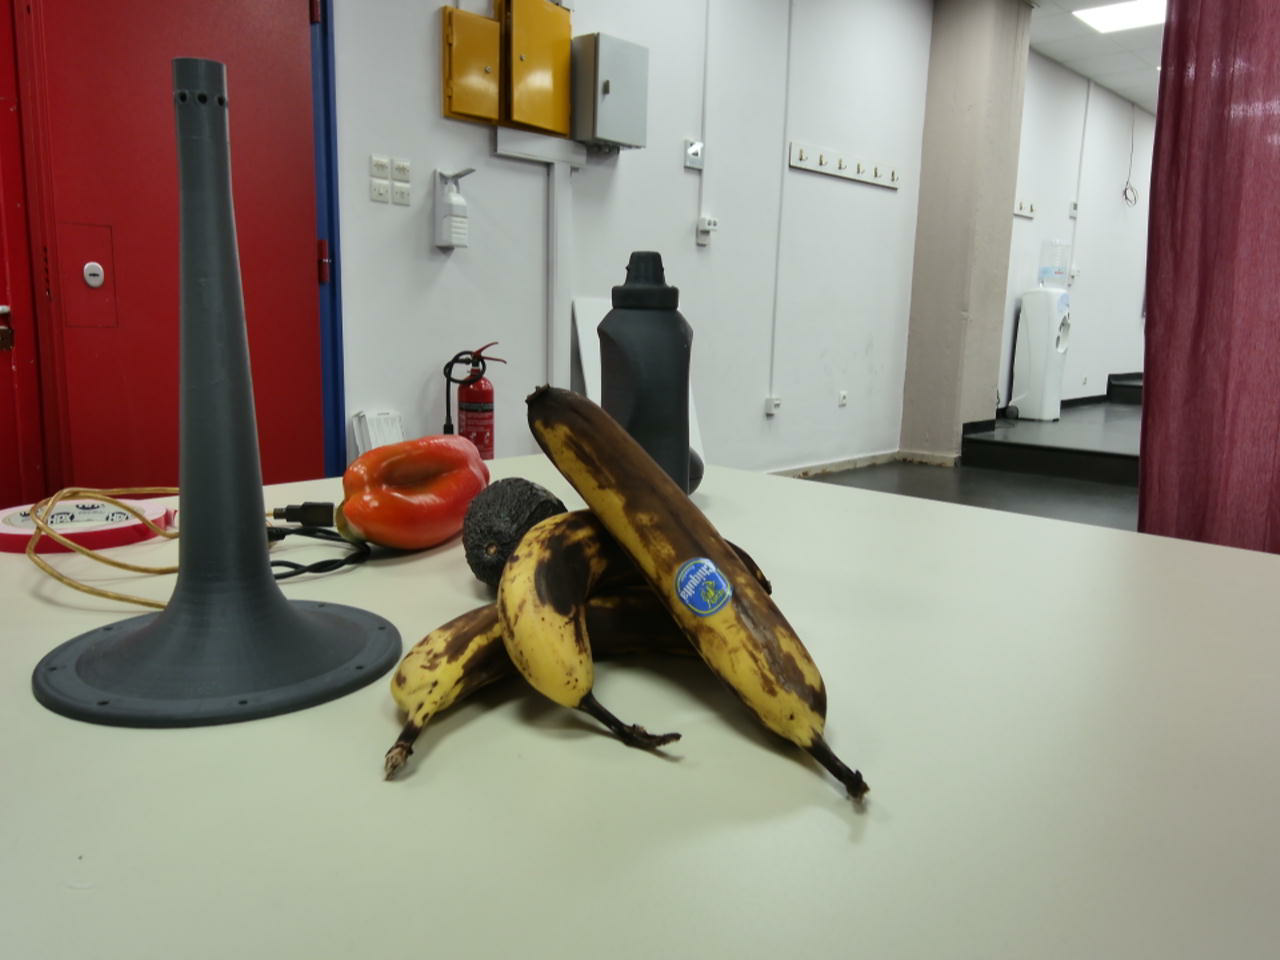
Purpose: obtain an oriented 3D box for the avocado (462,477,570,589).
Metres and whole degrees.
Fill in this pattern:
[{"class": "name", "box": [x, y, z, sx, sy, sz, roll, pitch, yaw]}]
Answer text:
[{"class": "avocado", "box": [-0.075, 0.031, 0.587, 0.062, 0.062, 0.092, 4, 9, 19]}]
